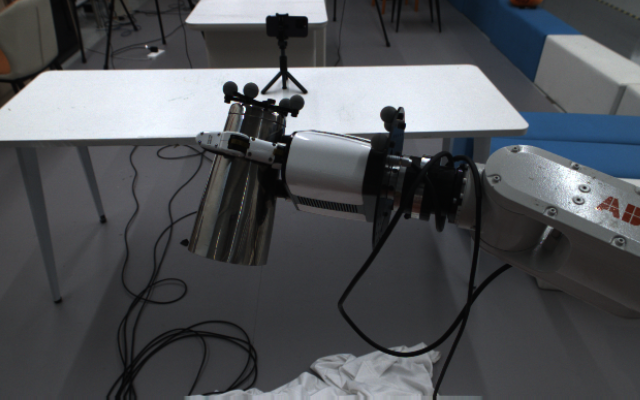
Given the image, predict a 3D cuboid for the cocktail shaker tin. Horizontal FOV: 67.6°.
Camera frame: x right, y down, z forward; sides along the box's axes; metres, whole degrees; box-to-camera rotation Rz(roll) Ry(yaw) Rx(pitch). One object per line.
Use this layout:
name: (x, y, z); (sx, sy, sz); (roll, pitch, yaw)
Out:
cocktail shaker tin: (-0.085, -0.020, 0.557); (0.093, 0.170, 0.093); (13, 1, 0)
